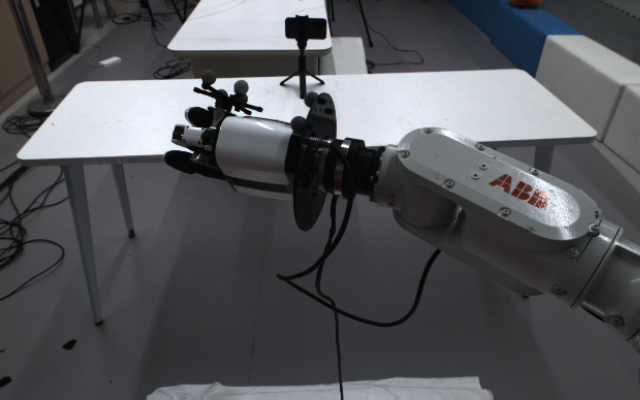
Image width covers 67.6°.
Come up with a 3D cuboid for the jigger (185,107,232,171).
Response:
[{"bbox_3d":[-0.130,-0.075,0.587,0.043,0.071,0.043,18,-6,2],"label":"jigger"}]
